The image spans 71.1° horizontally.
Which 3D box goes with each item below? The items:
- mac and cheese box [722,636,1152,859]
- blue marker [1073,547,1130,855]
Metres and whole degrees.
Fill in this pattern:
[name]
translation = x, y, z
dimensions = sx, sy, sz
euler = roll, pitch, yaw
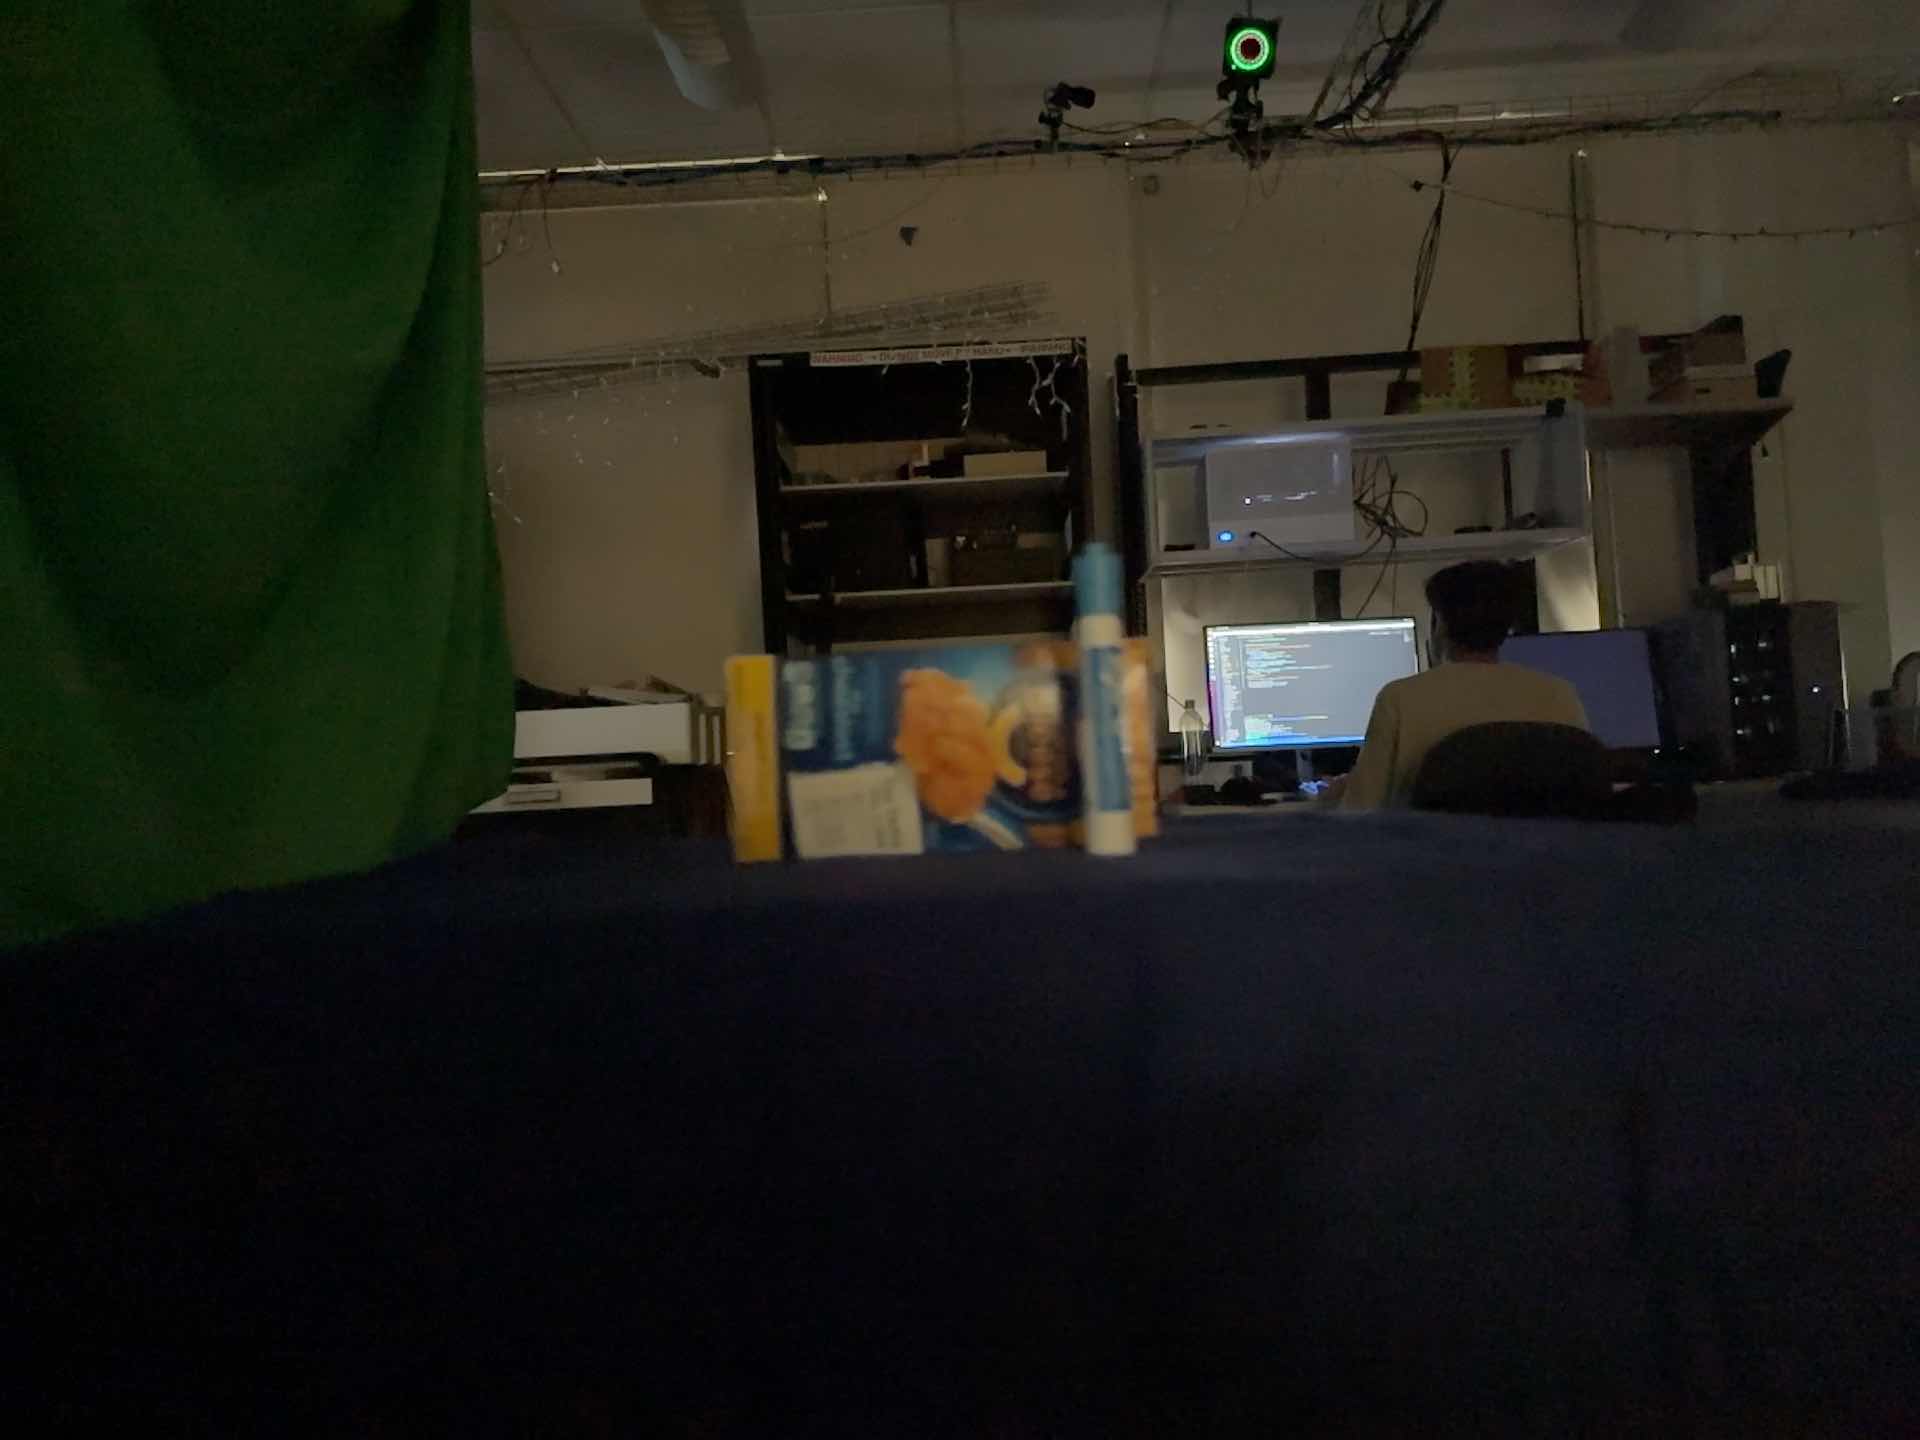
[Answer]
[mac and cheese box]
translation = -0.010, 0.012, 0.600
dimensions = 0.181, 0.088, 0.035
euler = -3, -3, -1
[blue marker]
translation = 0.056, -0.008, 0.533
dimensions = 0.020, 0.121, 0.020
euler = -2, -3, 0
